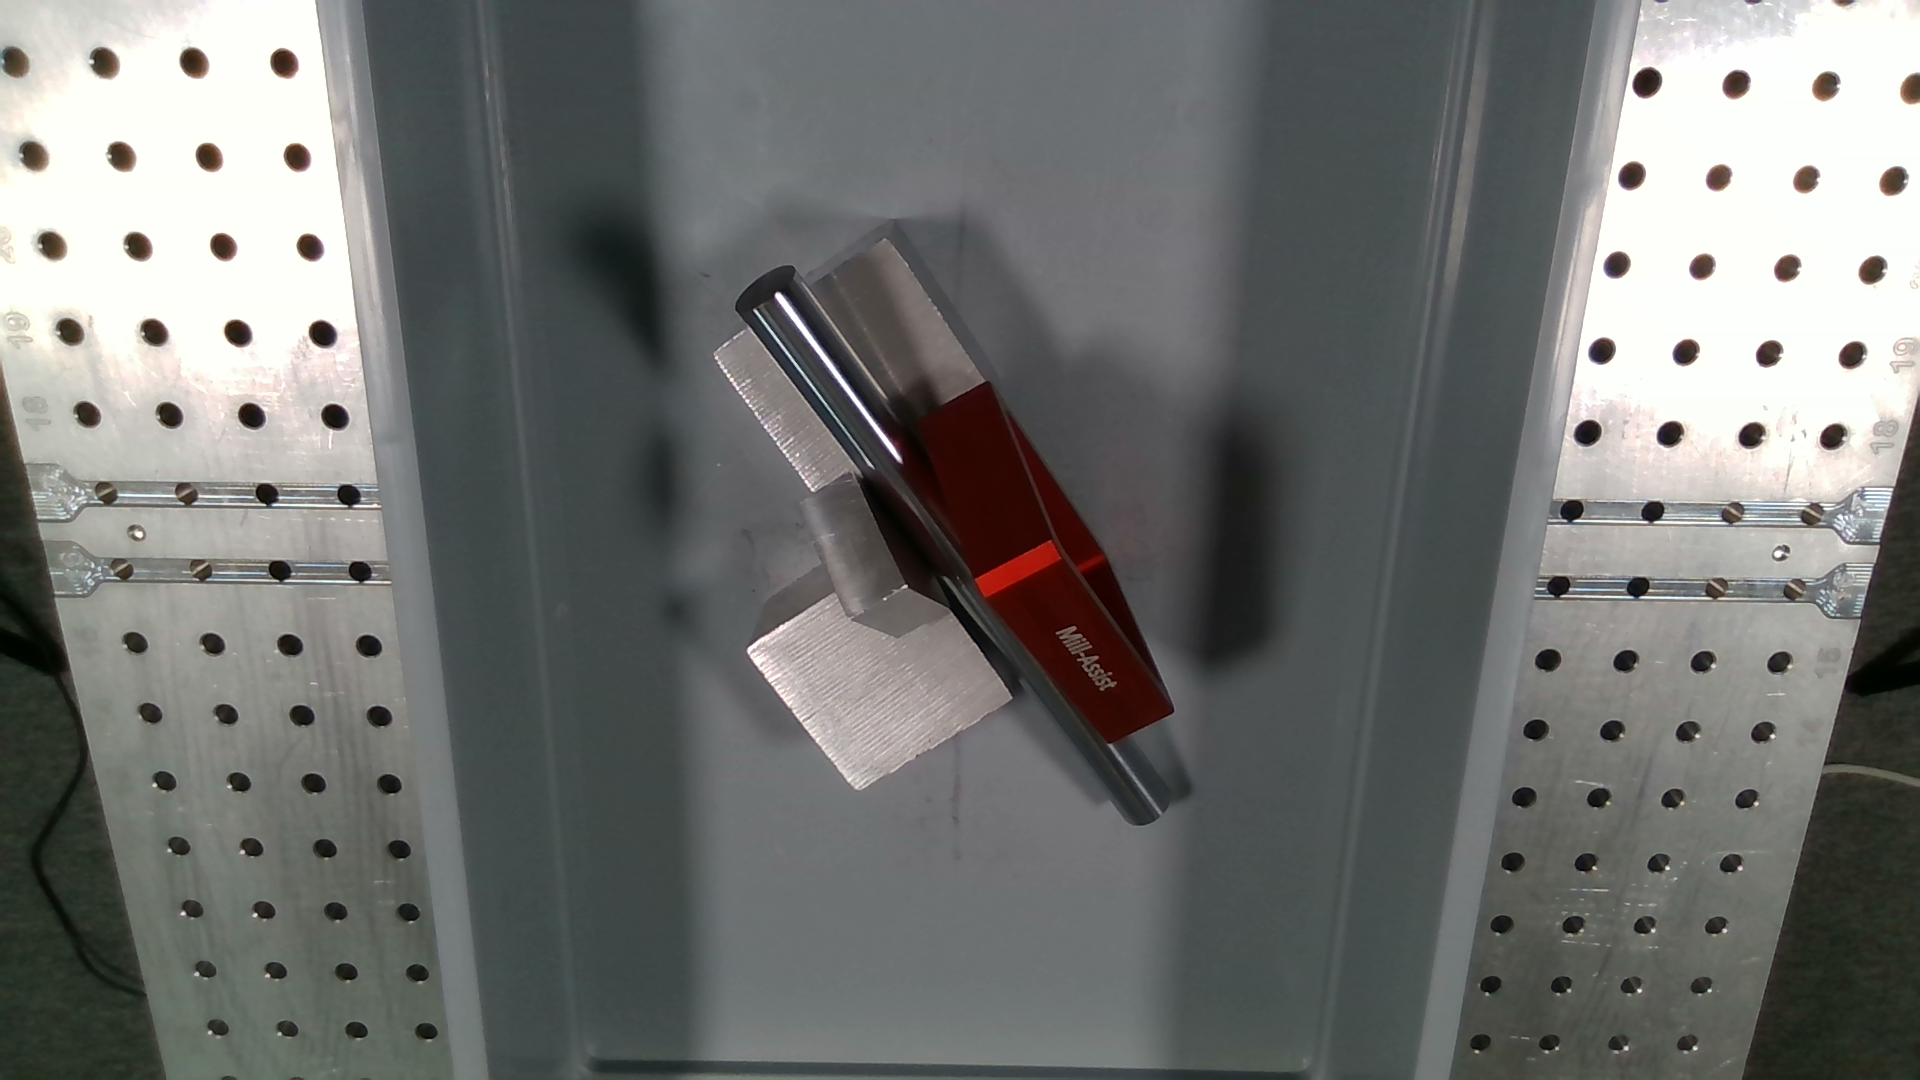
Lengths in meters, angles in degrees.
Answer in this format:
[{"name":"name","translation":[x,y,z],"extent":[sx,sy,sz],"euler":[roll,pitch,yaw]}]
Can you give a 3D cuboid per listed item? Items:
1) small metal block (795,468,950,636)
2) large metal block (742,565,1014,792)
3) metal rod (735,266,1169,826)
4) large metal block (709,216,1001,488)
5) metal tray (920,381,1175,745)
[{"name":"small metal block","translation":[-0.032,0.006,0.521],"extent":[0.025,0.050,0.050],"euler":[-29,71,10]},{"name":"large metal block","translation":[-0.033,0.046,0.587],"extent":[0.080,0.050,0.080],"euler":[-32,107,11]},{"name":"metal rod","translation":[0.009,0.017,0.550],"extent":[0.025,0.025,0.301],"euler":[-30,122,10]},{"name":"large metal block","translation":[-0.038,-0.068,0.543],"extent":[0.080,0.050,0.080],"euler":[-32,107,11]},{"name":"metal tray","translation":[0.035,0.011,0.525],"extent":[0.030,0.090,0.130],"euler":[-27,140,11]}]
